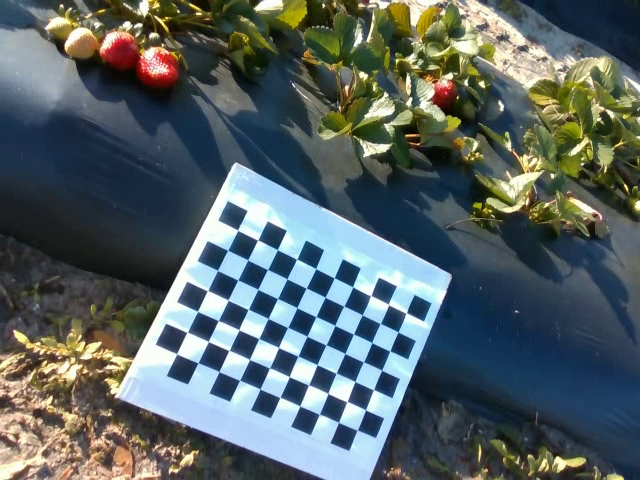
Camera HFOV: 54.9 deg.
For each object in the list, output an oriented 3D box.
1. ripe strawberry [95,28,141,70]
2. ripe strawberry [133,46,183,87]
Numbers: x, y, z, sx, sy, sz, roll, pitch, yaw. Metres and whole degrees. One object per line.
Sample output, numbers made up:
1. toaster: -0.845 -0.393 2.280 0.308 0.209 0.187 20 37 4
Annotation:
1. ripe strawberry: -0.228 -0.214 0.684 0.043 0.050 0.061 -35 10 29
2. ripe strawberry: -0.179 -0.193 0.691 0.056 0.051 0.067 -26 38 -17
